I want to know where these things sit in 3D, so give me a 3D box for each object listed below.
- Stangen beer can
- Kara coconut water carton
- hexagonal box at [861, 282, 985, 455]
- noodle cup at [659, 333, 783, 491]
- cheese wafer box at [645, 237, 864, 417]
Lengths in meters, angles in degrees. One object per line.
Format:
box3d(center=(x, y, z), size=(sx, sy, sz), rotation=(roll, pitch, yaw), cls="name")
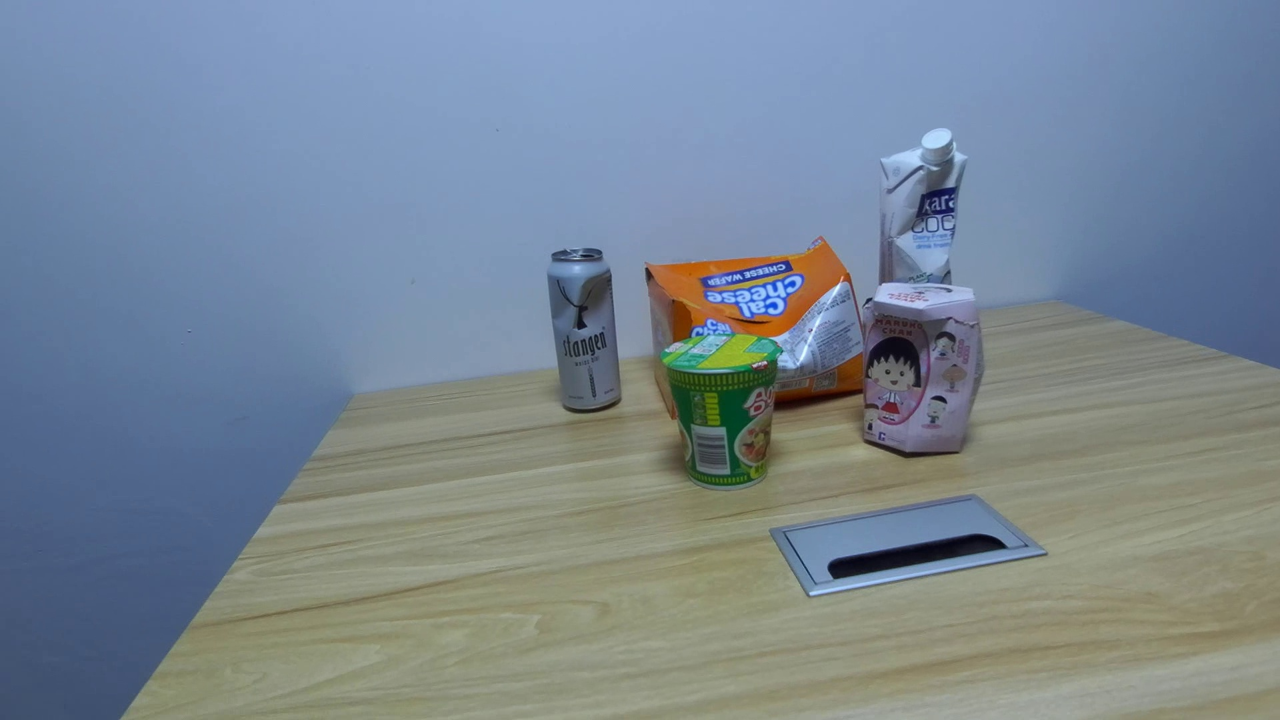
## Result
box3d(center=(-0.058, -0.033, 0.758), size=(0.070, 0.173, 0.069), rotation=(-7, 17, -5), cls="Stangen beer can")
box3d(center=(0.303, -0.116, 0.771), size=(0.083, 0.255, 0.078), rotation=(-8, 20, -7), cls="Kara coconut water carton")
box3d(center=(0.242, 0.005, 0.616), size=(0.090, 0.134, 0.091), rotation=(-1, 18, 4), cls="hexagonal box")
box3d(center=(0.069, 0.044, 0.581), size=(0.097, 0.110, 0.097), rotation=(-5, 18, 2), cls="noodle cup")
box3d(center=(0.127, -0.040, 0.762), size=(0.219, 0.145, 0.191), rotation=(-7, 18, -6), cls="cheese wafer box")
